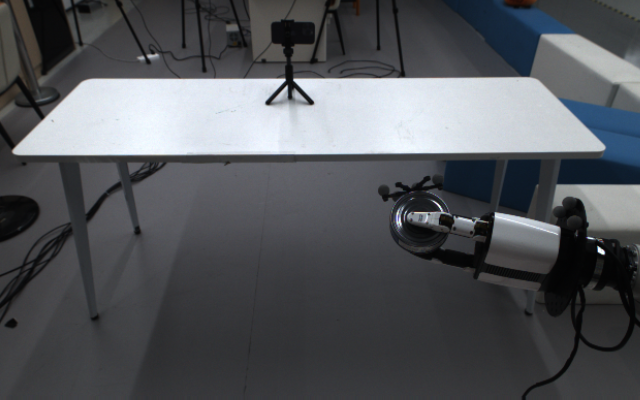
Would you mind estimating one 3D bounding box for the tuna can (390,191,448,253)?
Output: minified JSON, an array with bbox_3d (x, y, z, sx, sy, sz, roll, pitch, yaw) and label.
[{"bbox_3d":[0.144,0.028,0.685,0.085,0.034,0.085,-4,68,9],"label":"tuna can"}]
